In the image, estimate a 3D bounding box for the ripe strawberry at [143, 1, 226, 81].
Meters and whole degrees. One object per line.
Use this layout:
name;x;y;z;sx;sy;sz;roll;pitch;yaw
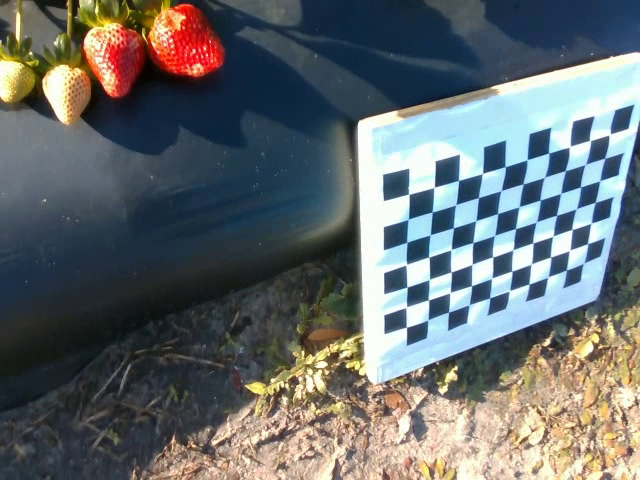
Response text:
ripe strawberry;-0.089;-0.136;0.443;0.067;0.057;0.051;36;12;17

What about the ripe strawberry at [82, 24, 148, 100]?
ripe strawberry;-0.140;-0.123;0.431;0.050;0.061;0.043;6;-21;-32
